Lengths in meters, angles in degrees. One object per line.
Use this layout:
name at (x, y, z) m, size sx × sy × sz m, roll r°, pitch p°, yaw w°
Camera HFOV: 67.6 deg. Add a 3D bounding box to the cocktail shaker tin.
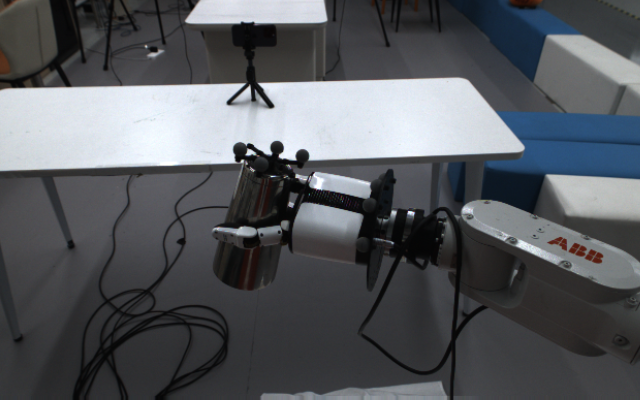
cocktail shaker tin at (-0.084, 0.027, 0.654) m, size 0.093 × 0.170 × 0.093 m, roll 12°, pitch 29°, yaw -7°
